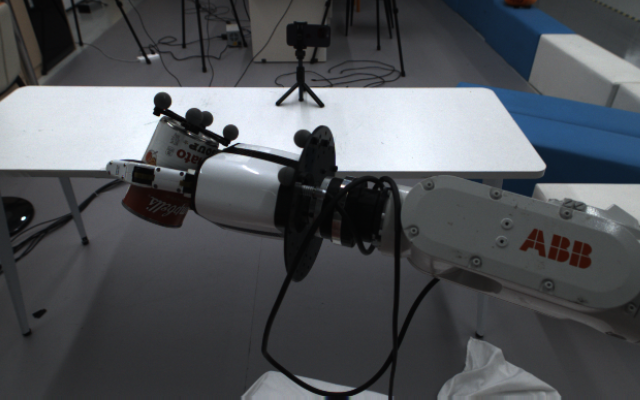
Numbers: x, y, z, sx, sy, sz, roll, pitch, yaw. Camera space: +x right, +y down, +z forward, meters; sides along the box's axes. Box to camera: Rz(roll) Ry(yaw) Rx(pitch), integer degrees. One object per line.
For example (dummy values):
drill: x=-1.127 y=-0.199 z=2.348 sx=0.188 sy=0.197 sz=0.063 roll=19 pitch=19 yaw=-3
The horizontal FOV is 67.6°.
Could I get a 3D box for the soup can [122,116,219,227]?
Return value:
soup can: x=-0.158 y=-0.028 z=0.519 sx=0.067 sy=0.101 sz=0.067 roll=27 pitch=6 yaw=-3
